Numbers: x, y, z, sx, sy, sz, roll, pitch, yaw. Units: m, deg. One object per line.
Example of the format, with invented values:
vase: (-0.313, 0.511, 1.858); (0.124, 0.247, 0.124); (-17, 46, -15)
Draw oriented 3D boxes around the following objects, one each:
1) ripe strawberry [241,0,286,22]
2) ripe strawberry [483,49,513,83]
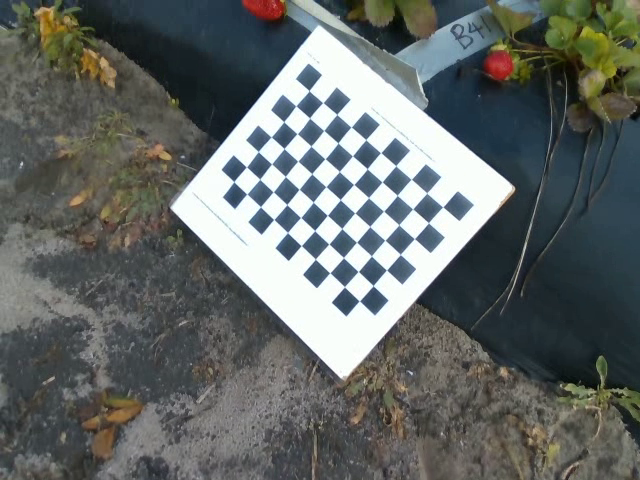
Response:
ripe strawberry: (-0.060, -0.254, 0.662); (0.053, 0.047, 0.030); (-8, -5, -11)
ripe strawberry: (0.193, -0.175, 0.636); (0.048, 0.037, 0.030); (-22, -16, -42)
